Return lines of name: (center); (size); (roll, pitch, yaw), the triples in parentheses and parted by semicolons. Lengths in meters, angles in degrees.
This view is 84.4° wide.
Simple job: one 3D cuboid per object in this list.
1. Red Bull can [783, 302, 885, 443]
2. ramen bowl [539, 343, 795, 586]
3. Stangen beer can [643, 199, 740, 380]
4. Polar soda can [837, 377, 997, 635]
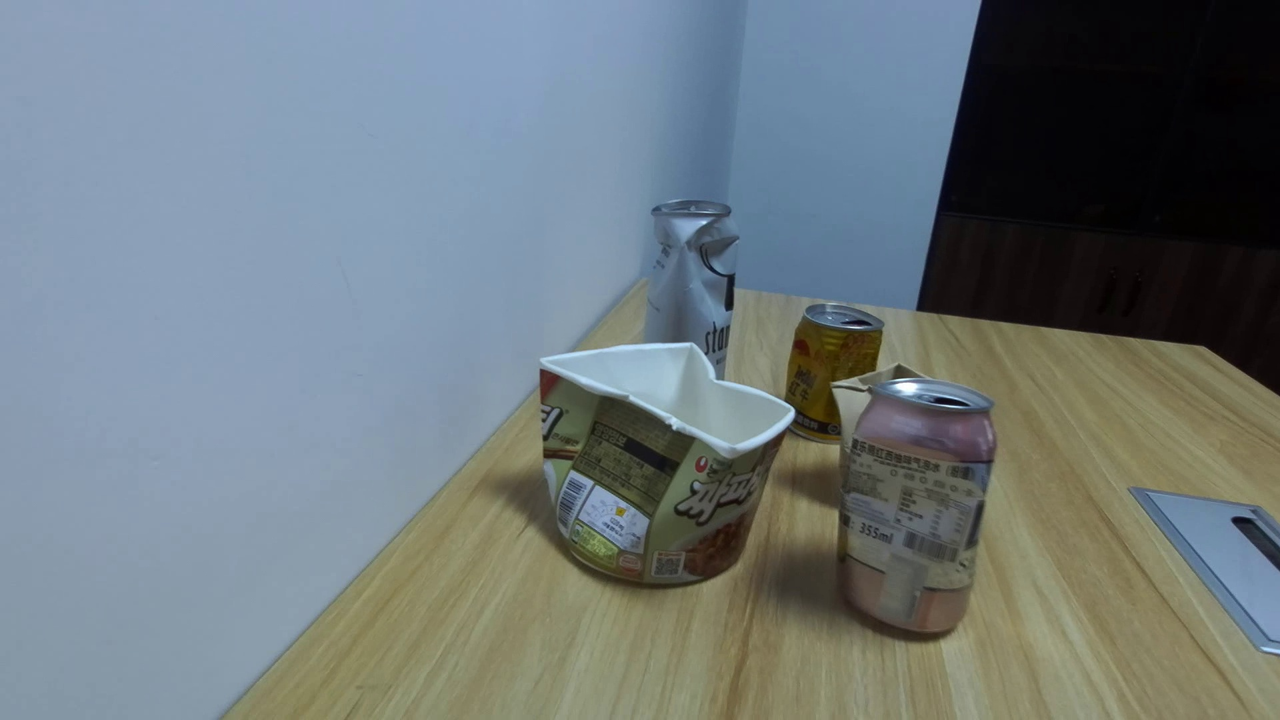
Red Bull can: (0.148, 0.009, 0.537); (0.072, 0.092, 0.072); (4, 21, -1)
ramen bowl: (0.014, 0.057, 0.391); (0.112, 0.093, 0.127); (-8, 26, -28)
Stangen beer can: (0.032, -0.030, 0.514); (0.066, 0.166, 0.065); (-17, 31, -36)
Polar soda can: (0.137, 0.070, 0.354); (0.066, 0.122, 0.071); (9, 19, 25)
